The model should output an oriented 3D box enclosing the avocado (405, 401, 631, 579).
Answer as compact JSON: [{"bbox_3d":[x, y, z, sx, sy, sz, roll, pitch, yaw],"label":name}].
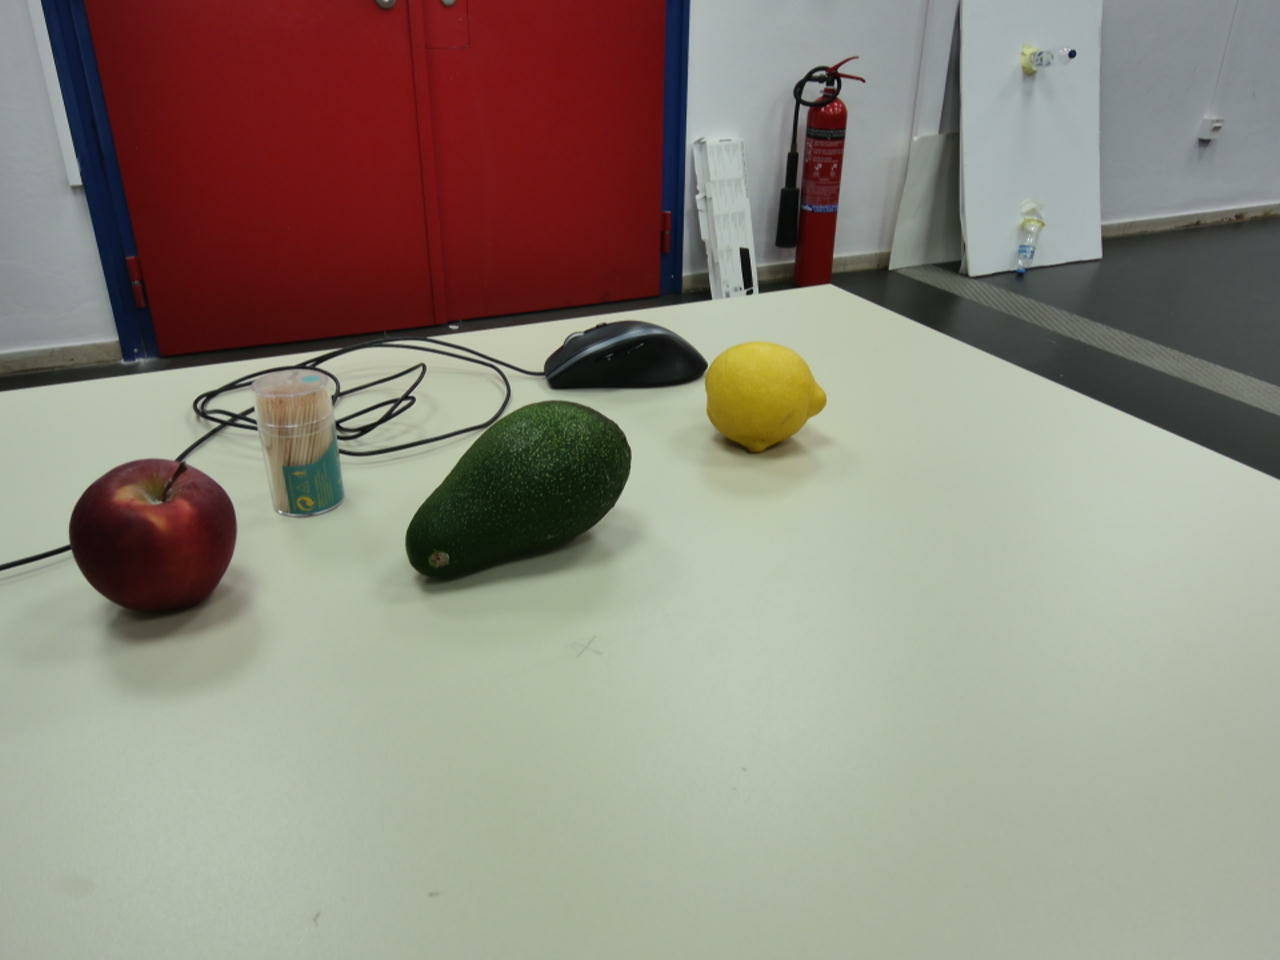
[{"bbox_3d":[-0.064,-0.001,0.515,0.123,0.076,0.074,-8,27,-18],"label":"avocado"}]
